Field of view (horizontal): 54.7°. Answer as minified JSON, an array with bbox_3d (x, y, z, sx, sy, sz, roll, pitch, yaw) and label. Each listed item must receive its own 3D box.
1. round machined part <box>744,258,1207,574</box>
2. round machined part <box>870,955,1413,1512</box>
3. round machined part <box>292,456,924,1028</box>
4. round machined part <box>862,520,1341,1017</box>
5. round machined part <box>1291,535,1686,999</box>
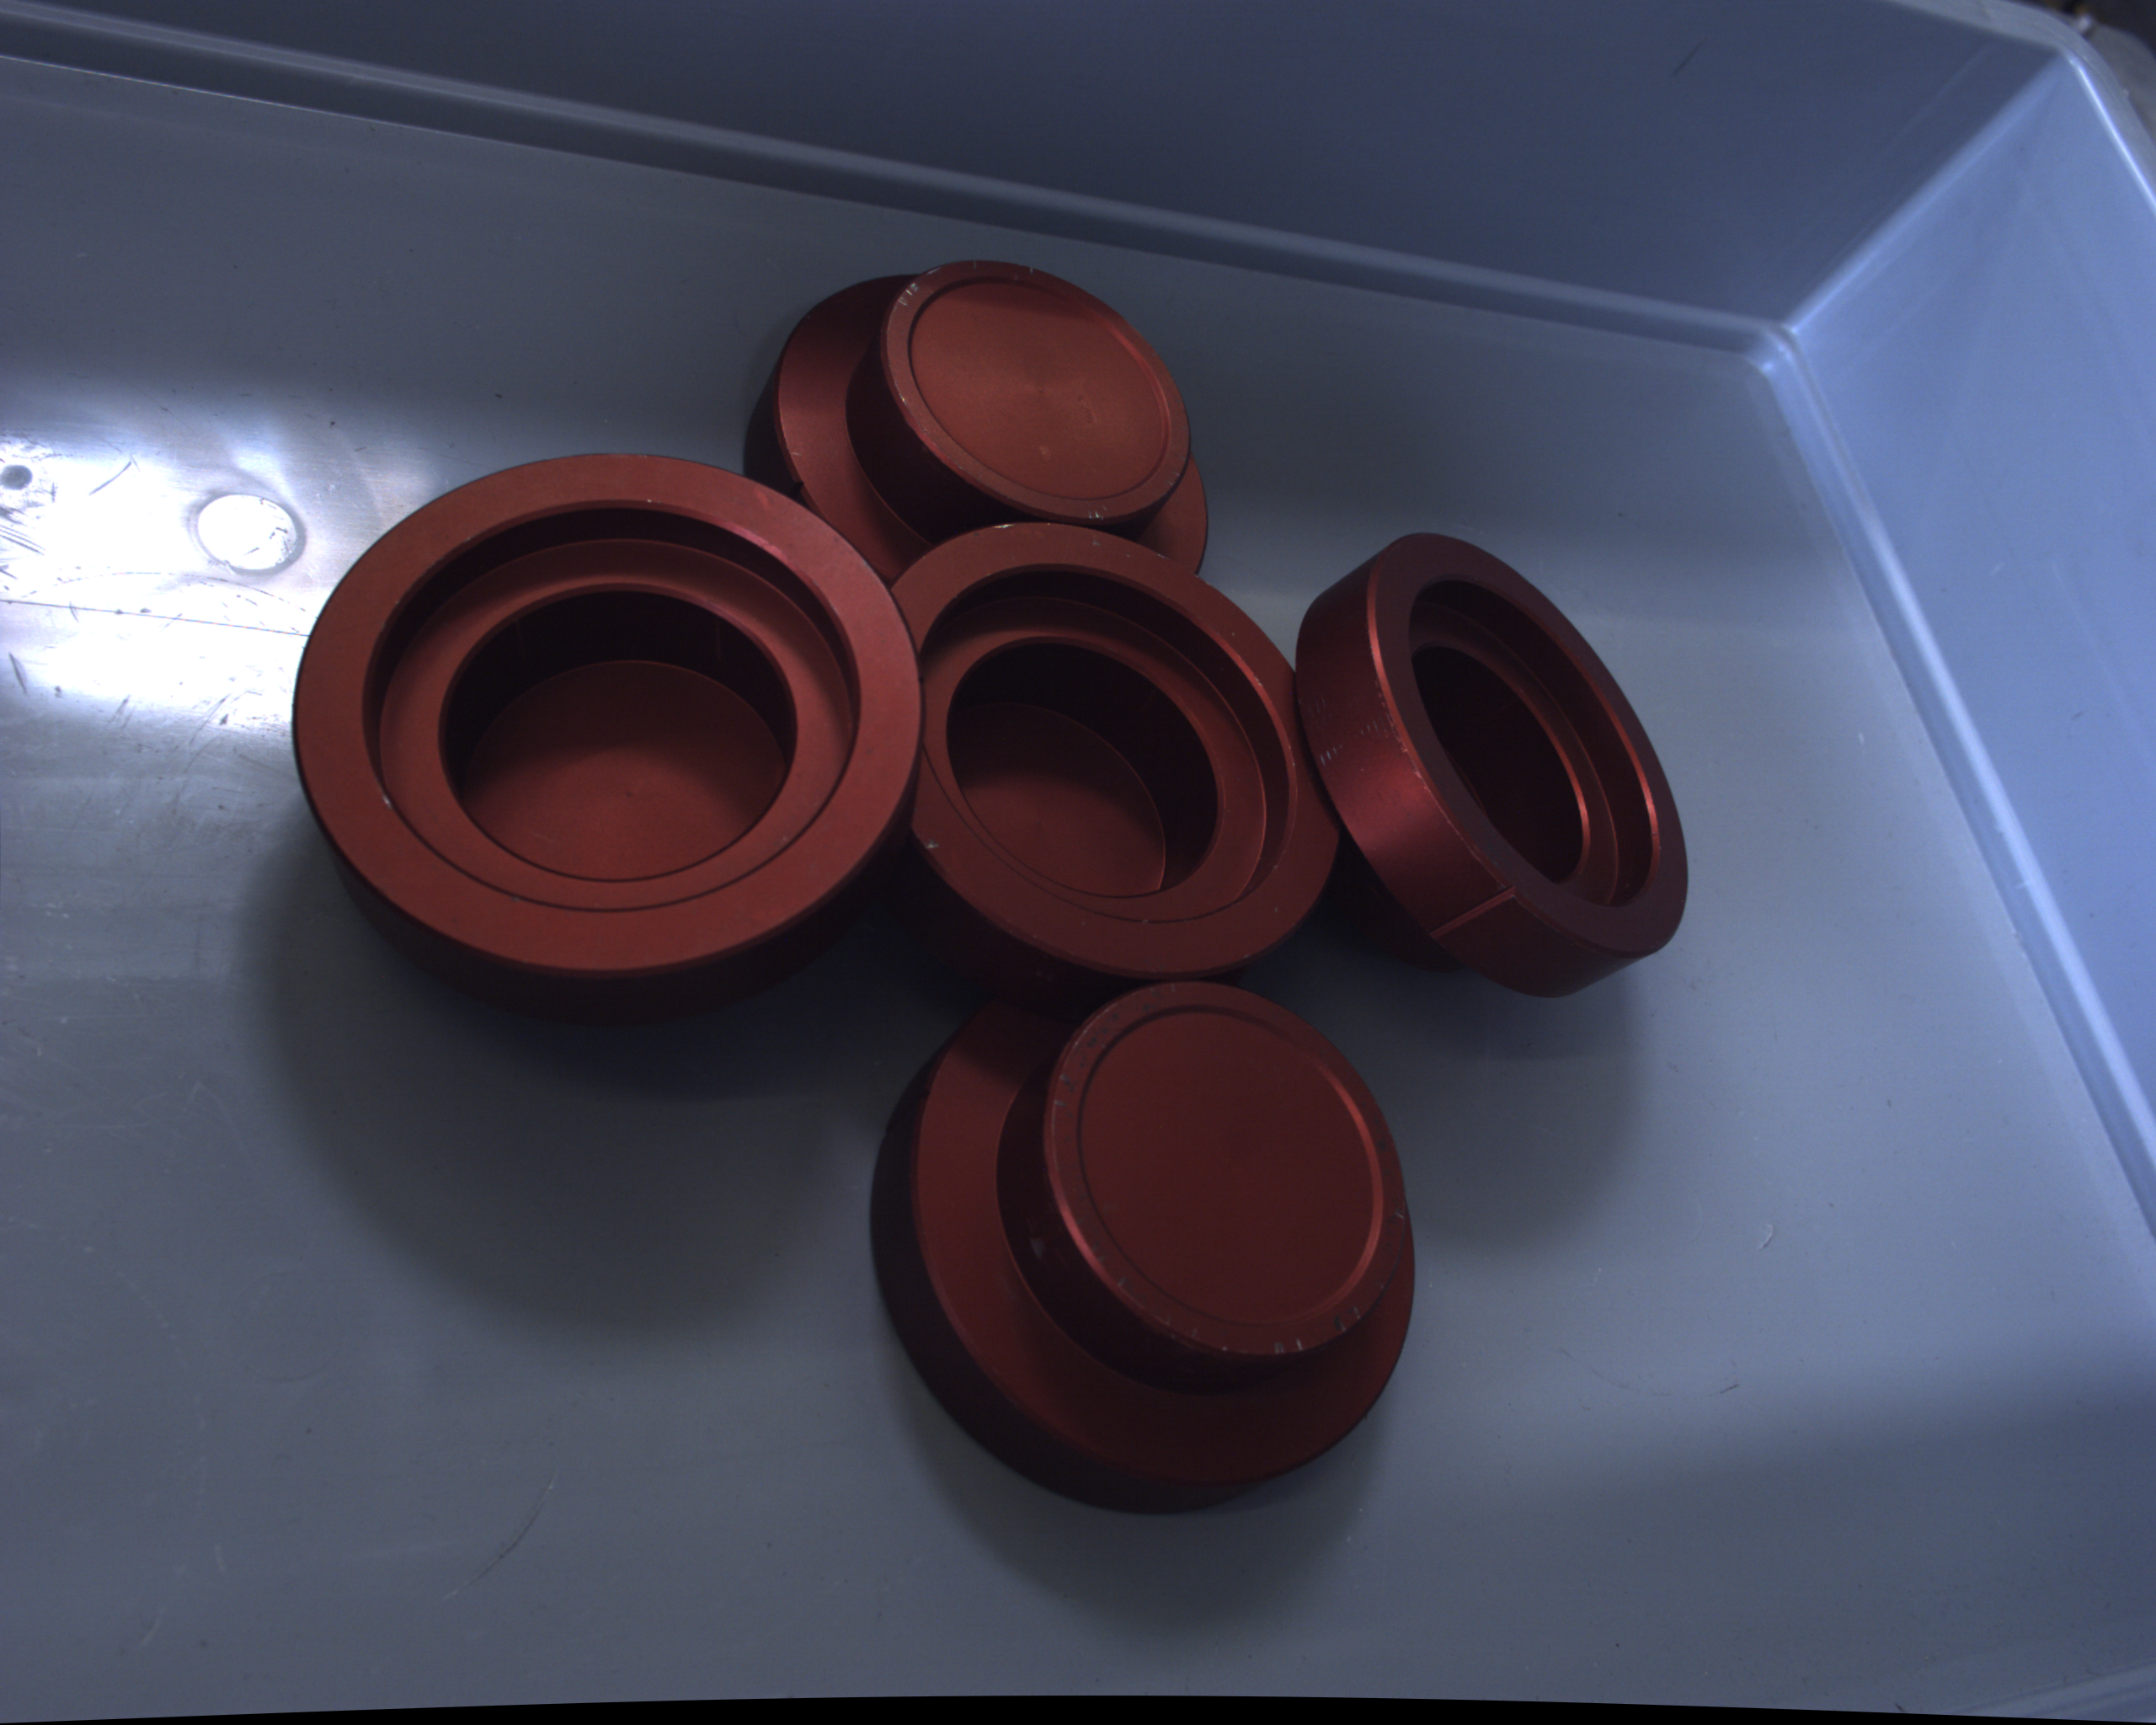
[{"bbox_3d":[-0.016,-0.086,0.436,0.099,0.042,0.098,14,56,-21],"label":"round machined part"},{"bbox_3d":[0.017,0.059,0.365,0.099,0.042,0.098,14,56,-21],"label":"round machined part"},{"bbox_3d":[-0.077,-0.017,0.351,0.099,0.042,0.098,4,62,-7],"label":"round machined part"},{"bbox_3d":[-0.002,-0.014,0.399,0.099,0.042,0.098,14,56,-21],"label":"round machined part"},{"bbox_3d":[0.079,-0.016,0.434,0.098,0.042,0.098,27,46,-31],"label":"round machined part"}]
